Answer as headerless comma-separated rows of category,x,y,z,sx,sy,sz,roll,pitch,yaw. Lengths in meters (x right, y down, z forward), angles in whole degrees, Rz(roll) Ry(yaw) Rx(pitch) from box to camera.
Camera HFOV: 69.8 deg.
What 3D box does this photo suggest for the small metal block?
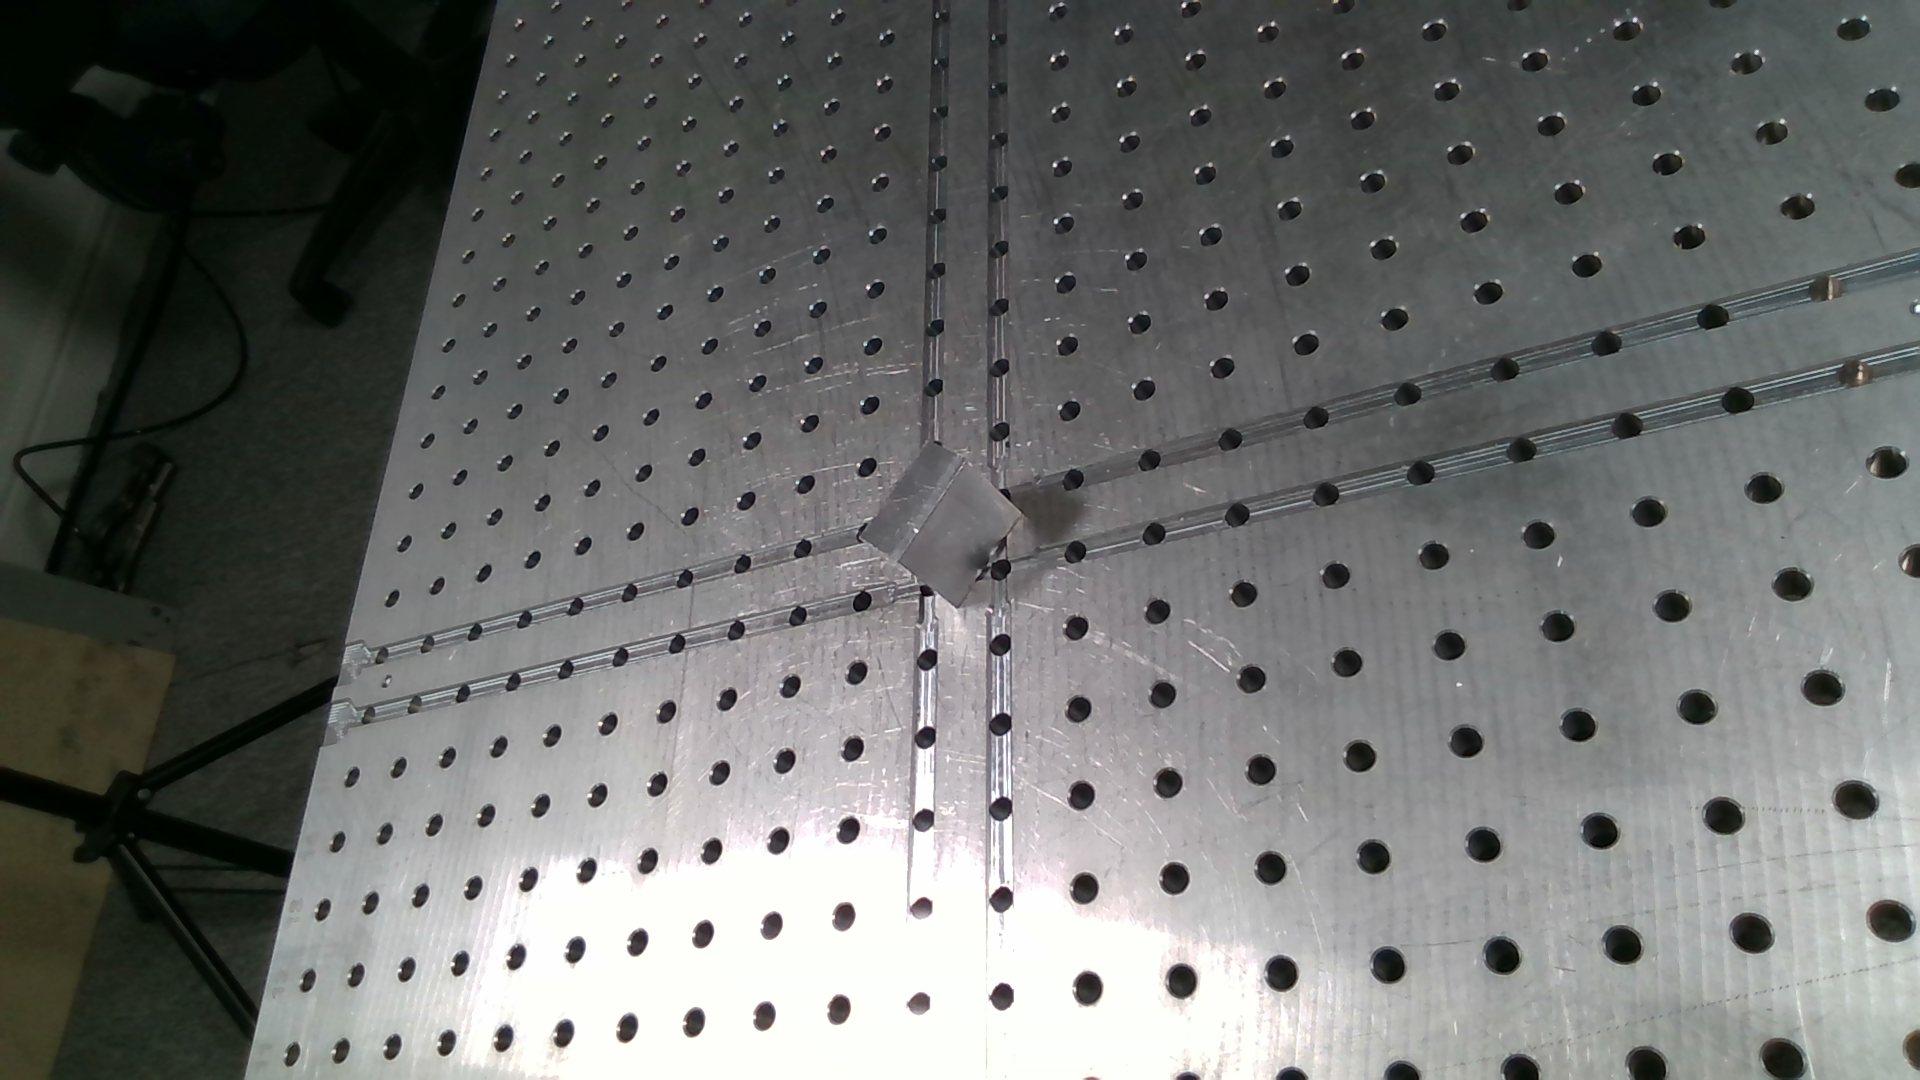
small metal block,-0.008,-0.006,0.580,0.025,0.050,0.050,30,83,39
